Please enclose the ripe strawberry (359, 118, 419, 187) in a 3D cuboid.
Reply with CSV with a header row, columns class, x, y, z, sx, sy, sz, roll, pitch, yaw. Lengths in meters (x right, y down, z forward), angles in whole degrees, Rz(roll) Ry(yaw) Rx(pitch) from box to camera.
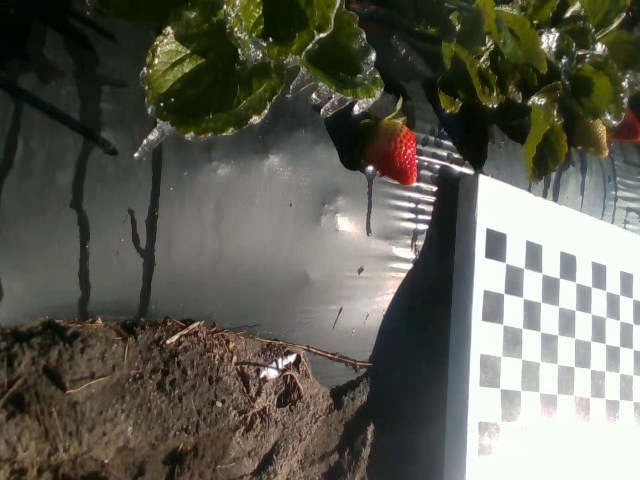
class,x,y,z,sx,sy,sz,roll,pitch,yaw
ripe strawberry,0.051,-0.056,0.400,0.039,0.053,0.040,-13,-15,-36
